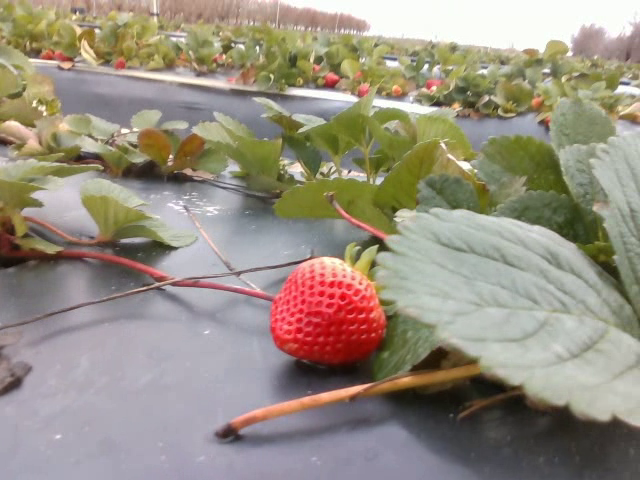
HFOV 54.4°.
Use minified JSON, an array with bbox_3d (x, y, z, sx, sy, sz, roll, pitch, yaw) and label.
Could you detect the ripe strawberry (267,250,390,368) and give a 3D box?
[{"bbox_3d":[-0.002,0.031,0.285,0.061,0.065,0.050,28,-30,27],"label":"ripe strawberry"}]
